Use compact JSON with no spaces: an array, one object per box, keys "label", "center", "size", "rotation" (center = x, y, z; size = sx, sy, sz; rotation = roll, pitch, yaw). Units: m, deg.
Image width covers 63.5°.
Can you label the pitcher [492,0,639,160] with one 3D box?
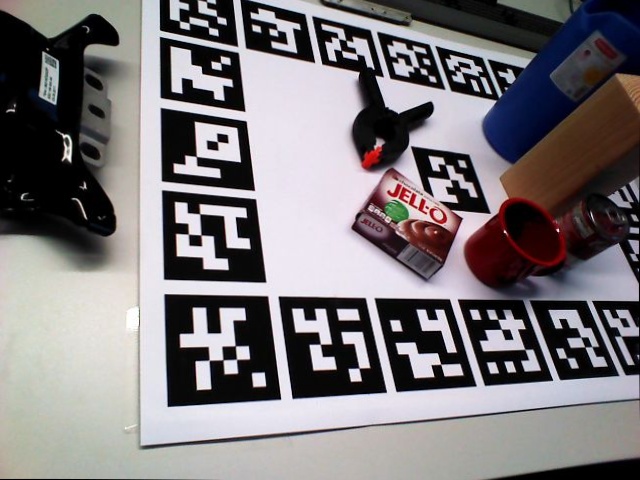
[{"label":"pitcher","center":[0.361,-0.218,0.715],"size":[0.188,0.244,0.132],"rotation":[1,58,-21]}]

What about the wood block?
[{"label":"wood block","center":[0.352,-0.106,0.662],"size":[0.089,0.208,0.090],"rotation":[2,60,-28]}]

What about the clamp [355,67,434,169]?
[{"label":"clamp","center":[0.090,-0.159,0.693],"size":[0.122,0.037,0.164],"rotation":[32,53,-13]}]

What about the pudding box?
[{"label":"pudding box","center":[0.097,-0.022,0.606],"size":[0.114,0.039,0.089],"rotation":[34,56,-1]}]

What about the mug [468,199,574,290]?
[{"label":"mug","center":[0.244,0.015,0.620],"size":[0.117,0.082,0.092],"rotation":[33,50,-2]}]

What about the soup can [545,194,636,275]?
[{"label":"soup can","center":[0.330,-0.003,0.656],"size":[0.068,0.103,0.067],"rotation":[11,60,-19]}]
